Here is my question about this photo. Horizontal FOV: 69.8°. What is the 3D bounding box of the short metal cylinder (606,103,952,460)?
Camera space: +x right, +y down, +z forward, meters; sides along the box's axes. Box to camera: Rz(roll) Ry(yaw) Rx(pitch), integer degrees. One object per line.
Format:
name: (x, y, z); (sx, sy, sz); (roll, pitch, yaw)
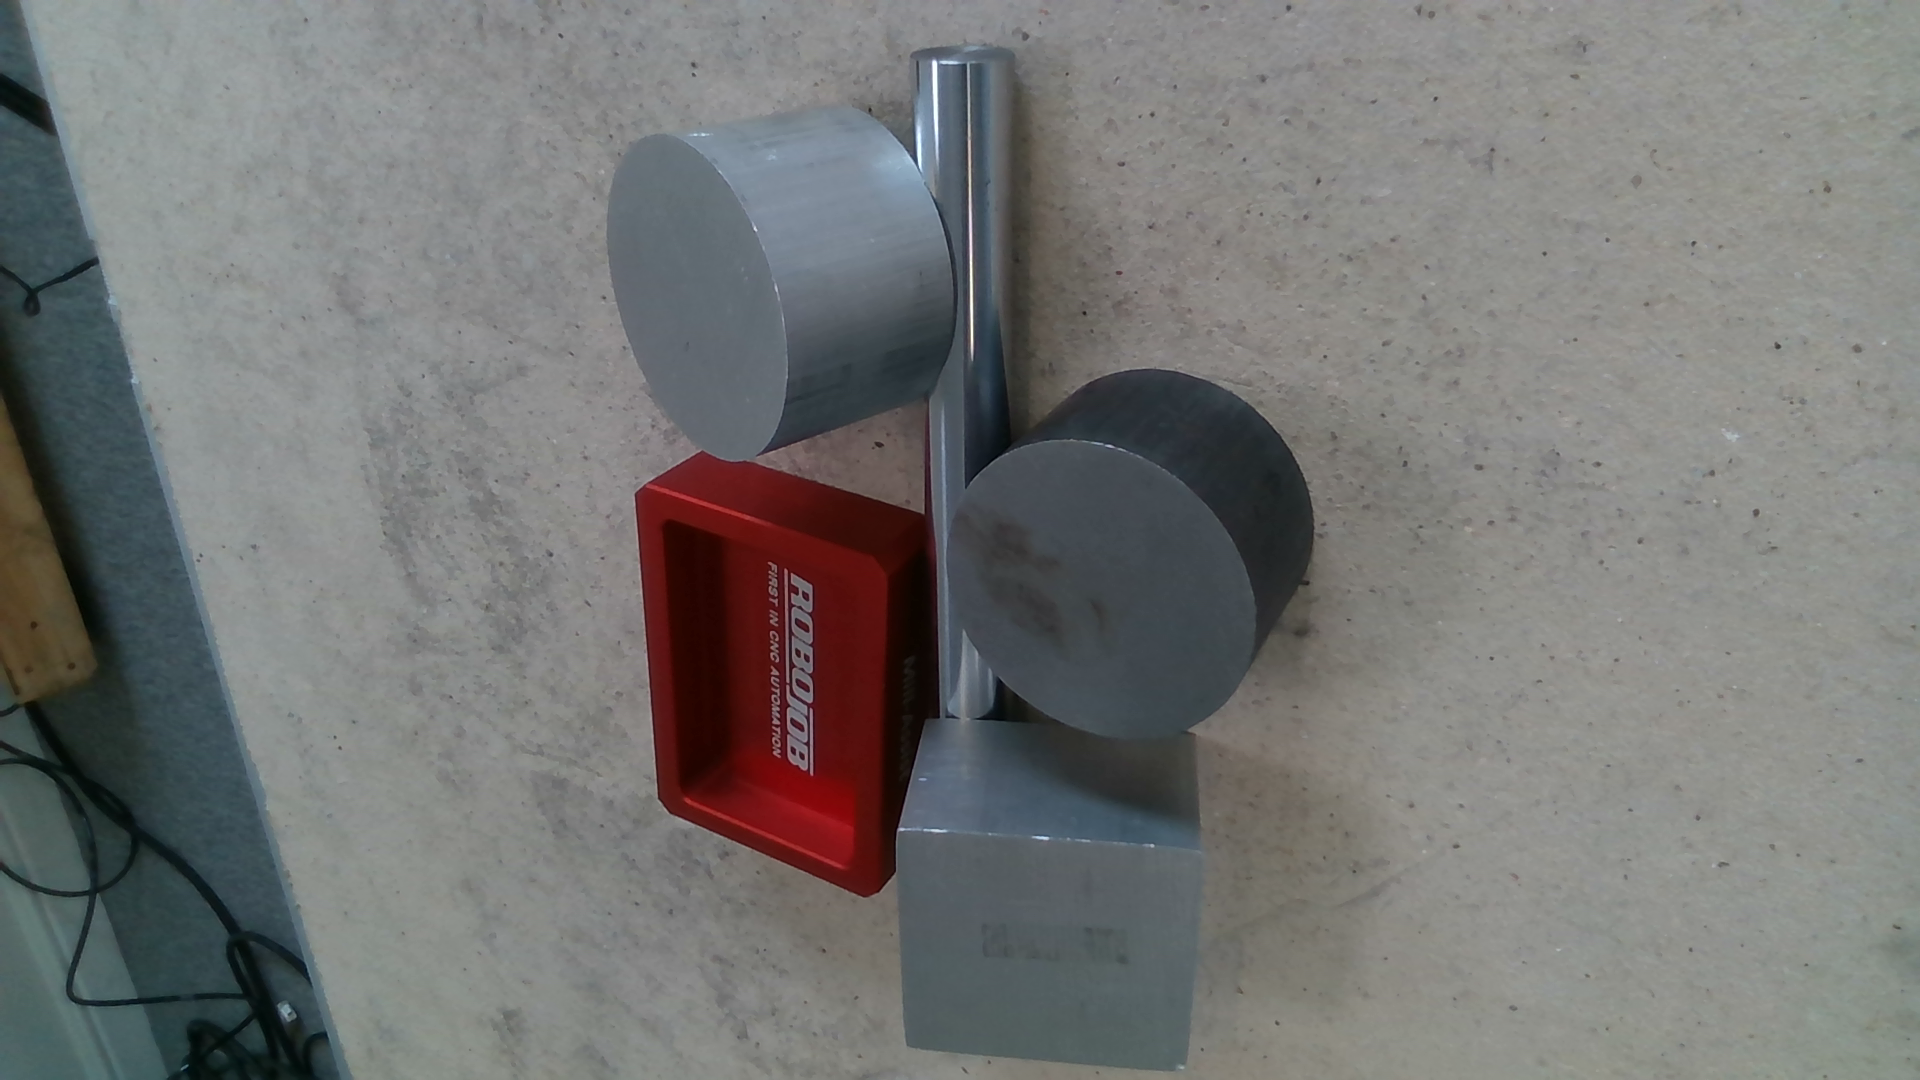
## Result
short metal cylinder: (-0.047, -0.066, 0.350); (0.080, 0.050, 0.080); (30, 131, 41)

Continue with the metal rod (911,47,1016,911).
metal rod: (0.003, 0.017, 0.398); (0.025, 0.025, 0.301); (14, 122, 25)

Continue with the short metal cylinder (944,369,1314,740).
short metal cylinder: (0.043, 0.003, 0.348); (0.080, 0.050, 0.080); (14, 122, 24)

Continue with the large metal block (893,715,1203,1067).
large metal block: (0.026, 0.100, 0.396); (0.080, 0.050, 0.080); (3, 118, 7)

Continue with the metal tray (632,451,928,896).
metal tray: (-0.057, 0.043, 0.444); (0.090, 0.030, 0.130); (17, 123, 23)
